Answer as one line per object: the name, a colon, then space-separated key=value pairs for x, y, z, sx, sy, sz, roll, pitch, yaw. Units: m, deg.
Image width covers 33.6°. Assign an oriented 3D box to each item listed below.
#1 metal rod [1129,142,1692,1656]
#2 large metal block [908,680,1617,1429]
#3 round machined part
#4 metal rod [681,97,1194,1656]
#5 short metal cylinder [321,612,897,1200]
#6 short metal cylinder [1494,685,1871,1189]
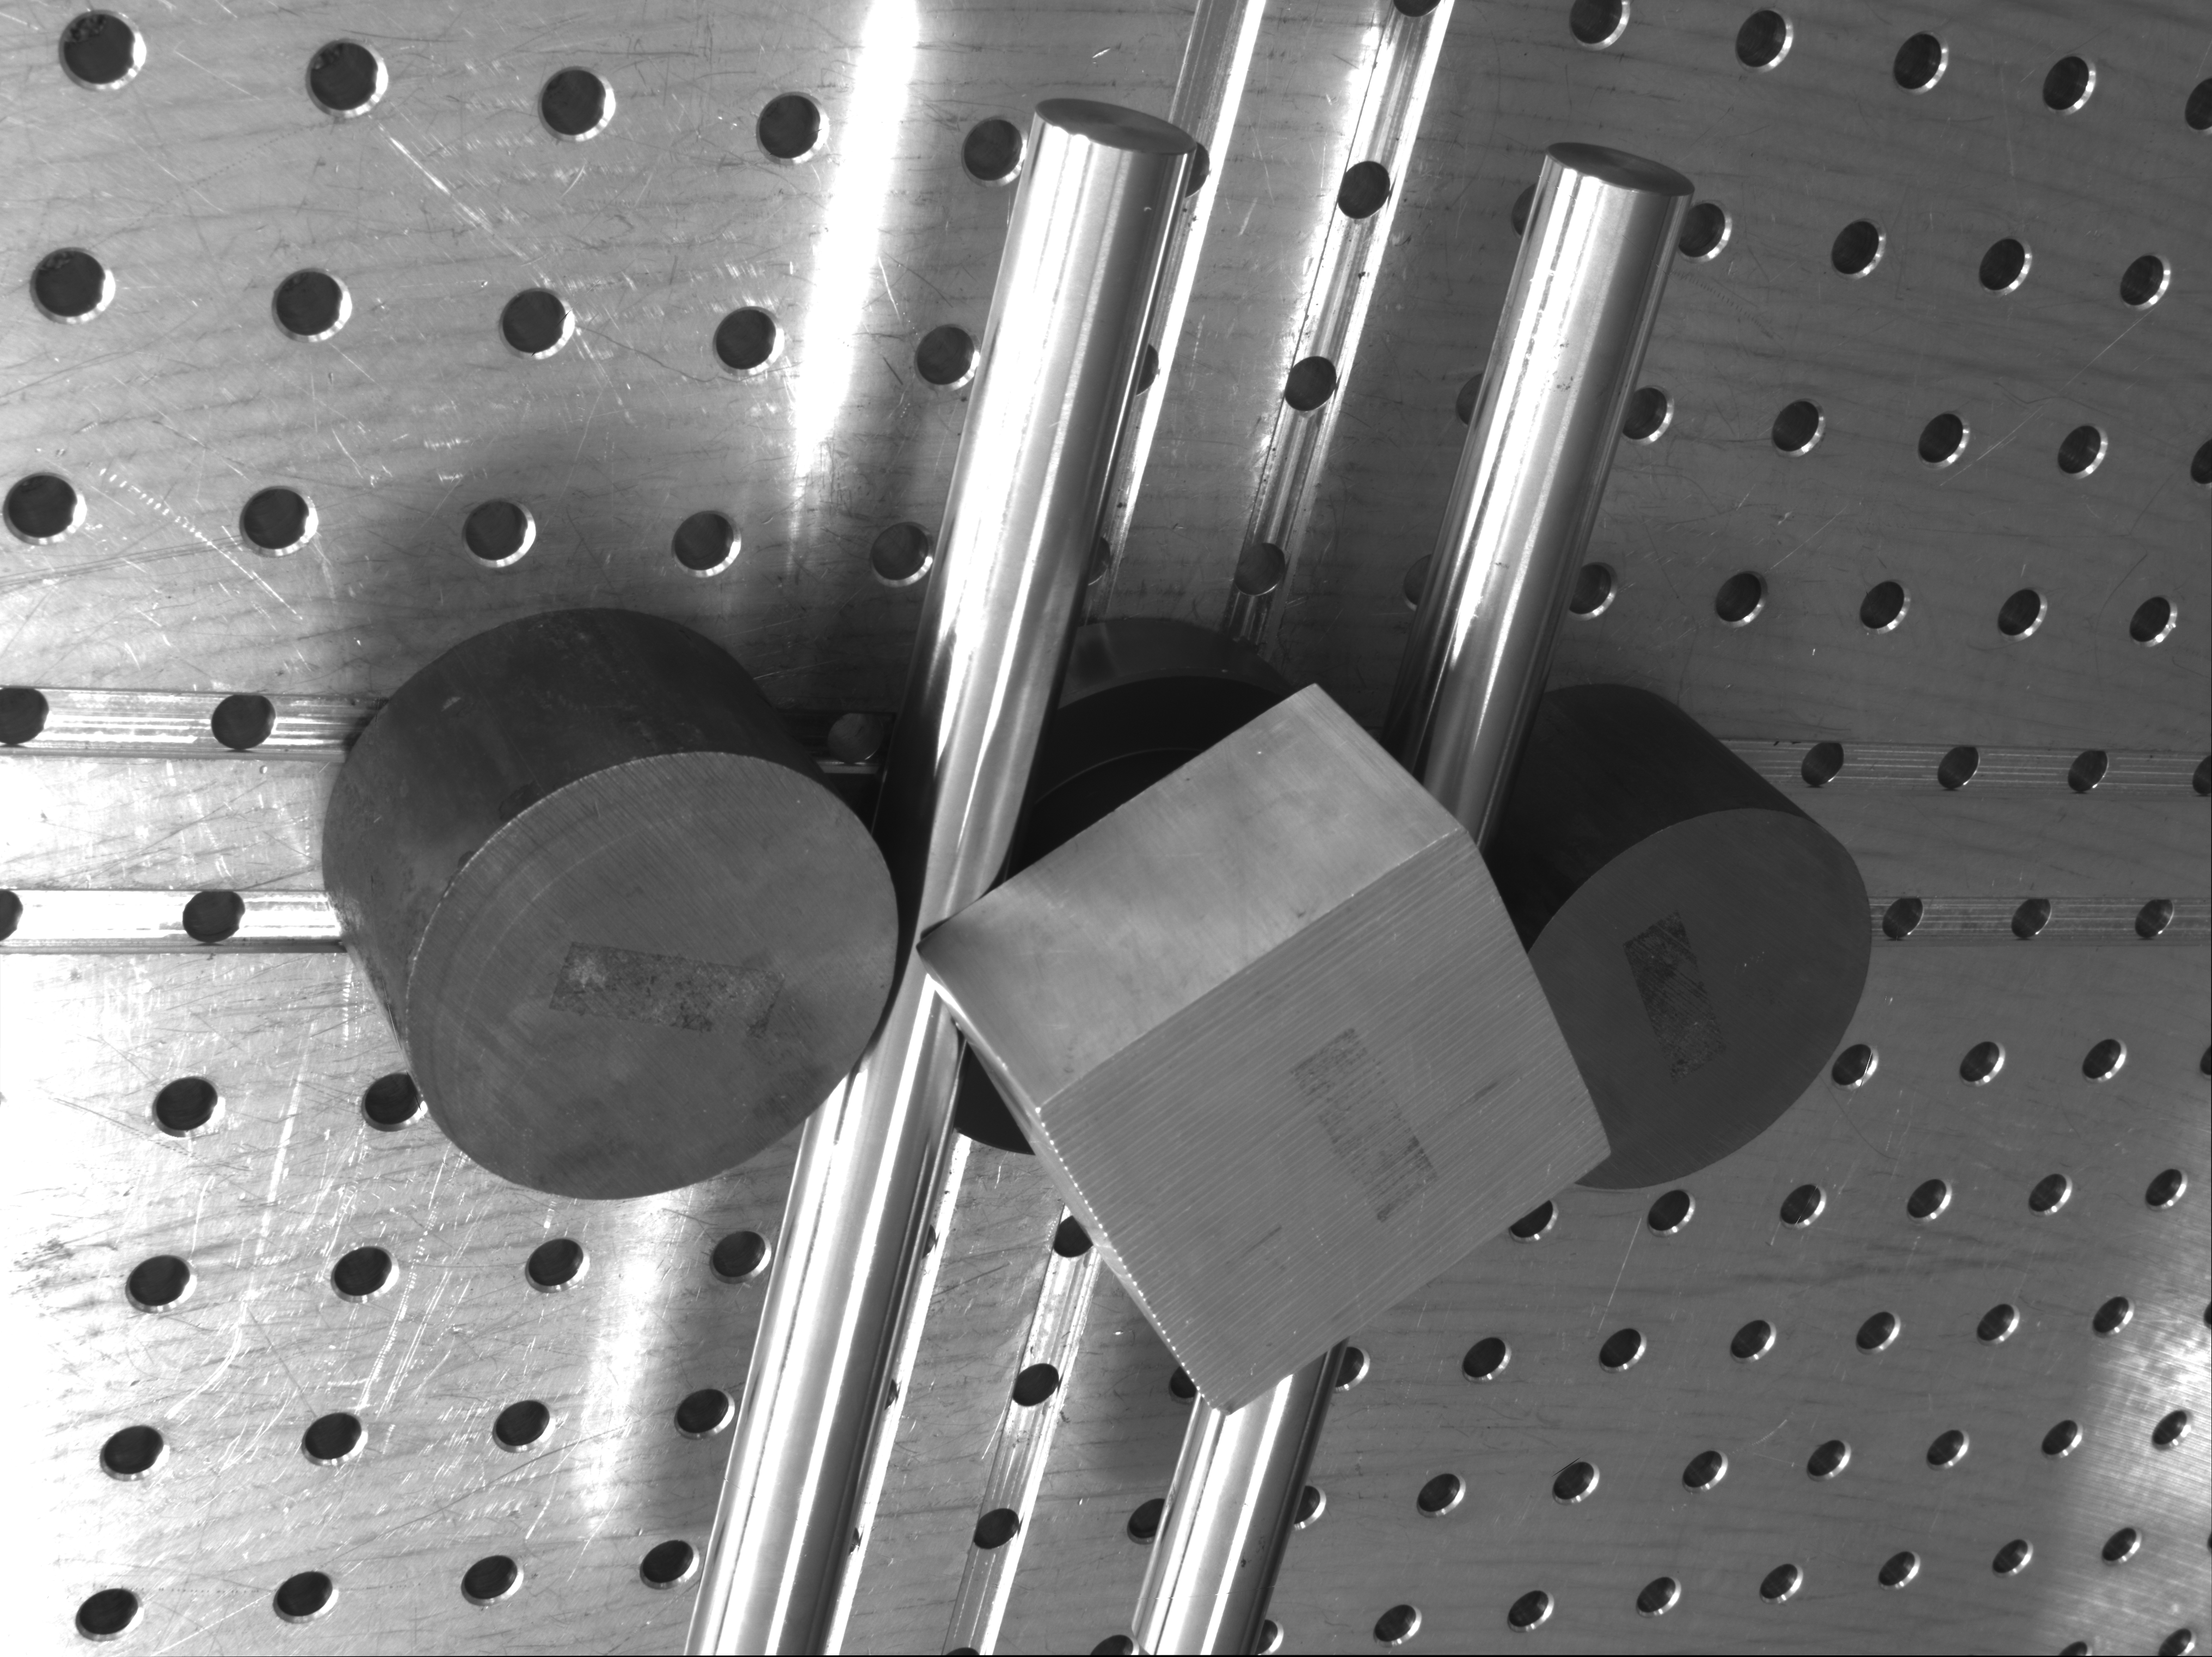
metal rod: x=0.050 y=0.025 z=0.655 sx=0.025 sy=0.025 sz=0.300 roll=0 pitch=118 yaw=-28
large metal block: x=0.027 y=0.037 z=0.600 sx=0.080 sy=0.050 sz=0.080 roll=-33 pitch=129 yaw=-6
round machined part: x=0.004 y=0.016 z=0.642 sx=0.098 sy=0.042 sz=0.098 roll=-14 pitch=124 yaw=-21
metal rod: x=-0.033 y=0.027 z=0.612 sx=0.025 sy=0.025 sz=0.300 roll=0 pitch=118 yaw=-28
short metal cylinder: x=-0.080 y=0.012 z=0.588 sx=0.080 sy=0.050 sz=0.080 roll=-14 pitch=124 yaw=-21
short metal cylinder: x=0.095 y=0.020 z=0.687 sx=0.080 sy=0.050 sz=0.080 roll=-14 pitch=124 yaw=-21
